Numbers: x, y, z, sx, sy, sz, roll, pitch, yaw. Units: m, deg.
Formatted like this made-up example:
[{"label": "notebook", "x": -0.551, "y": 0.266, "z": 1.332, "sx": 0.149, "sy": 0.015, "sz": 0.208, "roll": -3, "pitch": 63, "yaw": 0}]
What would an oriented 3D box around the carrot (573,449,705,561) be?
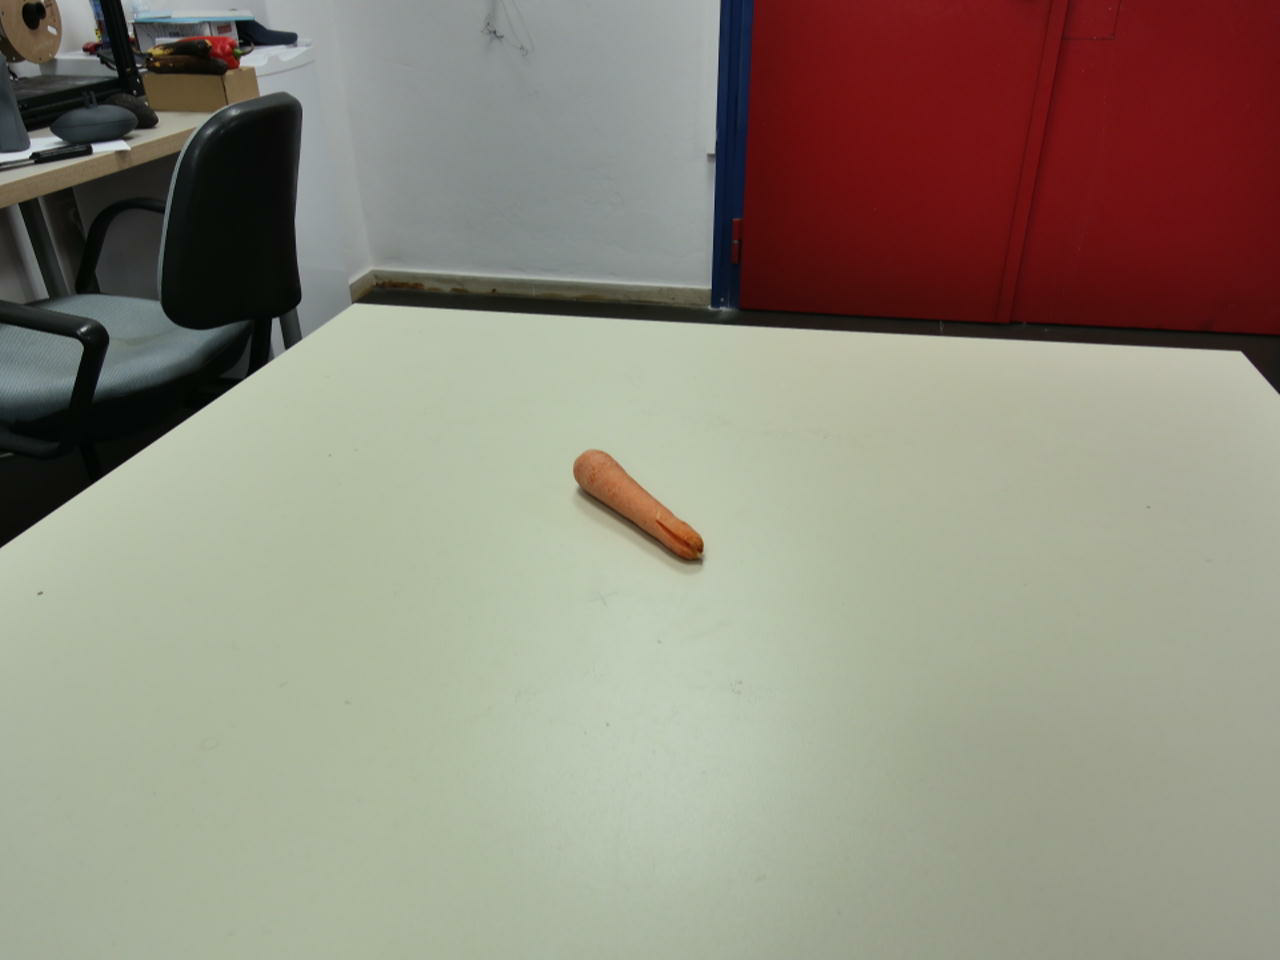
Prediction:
[{"label": "carrot", "x": -0.003, "y": 0.013, "z": 0.647, "sx": 0.030, "sy": 0.032, "sz": 0.136, "roll": -16, "pitch": 30, "yaw": -29}]
